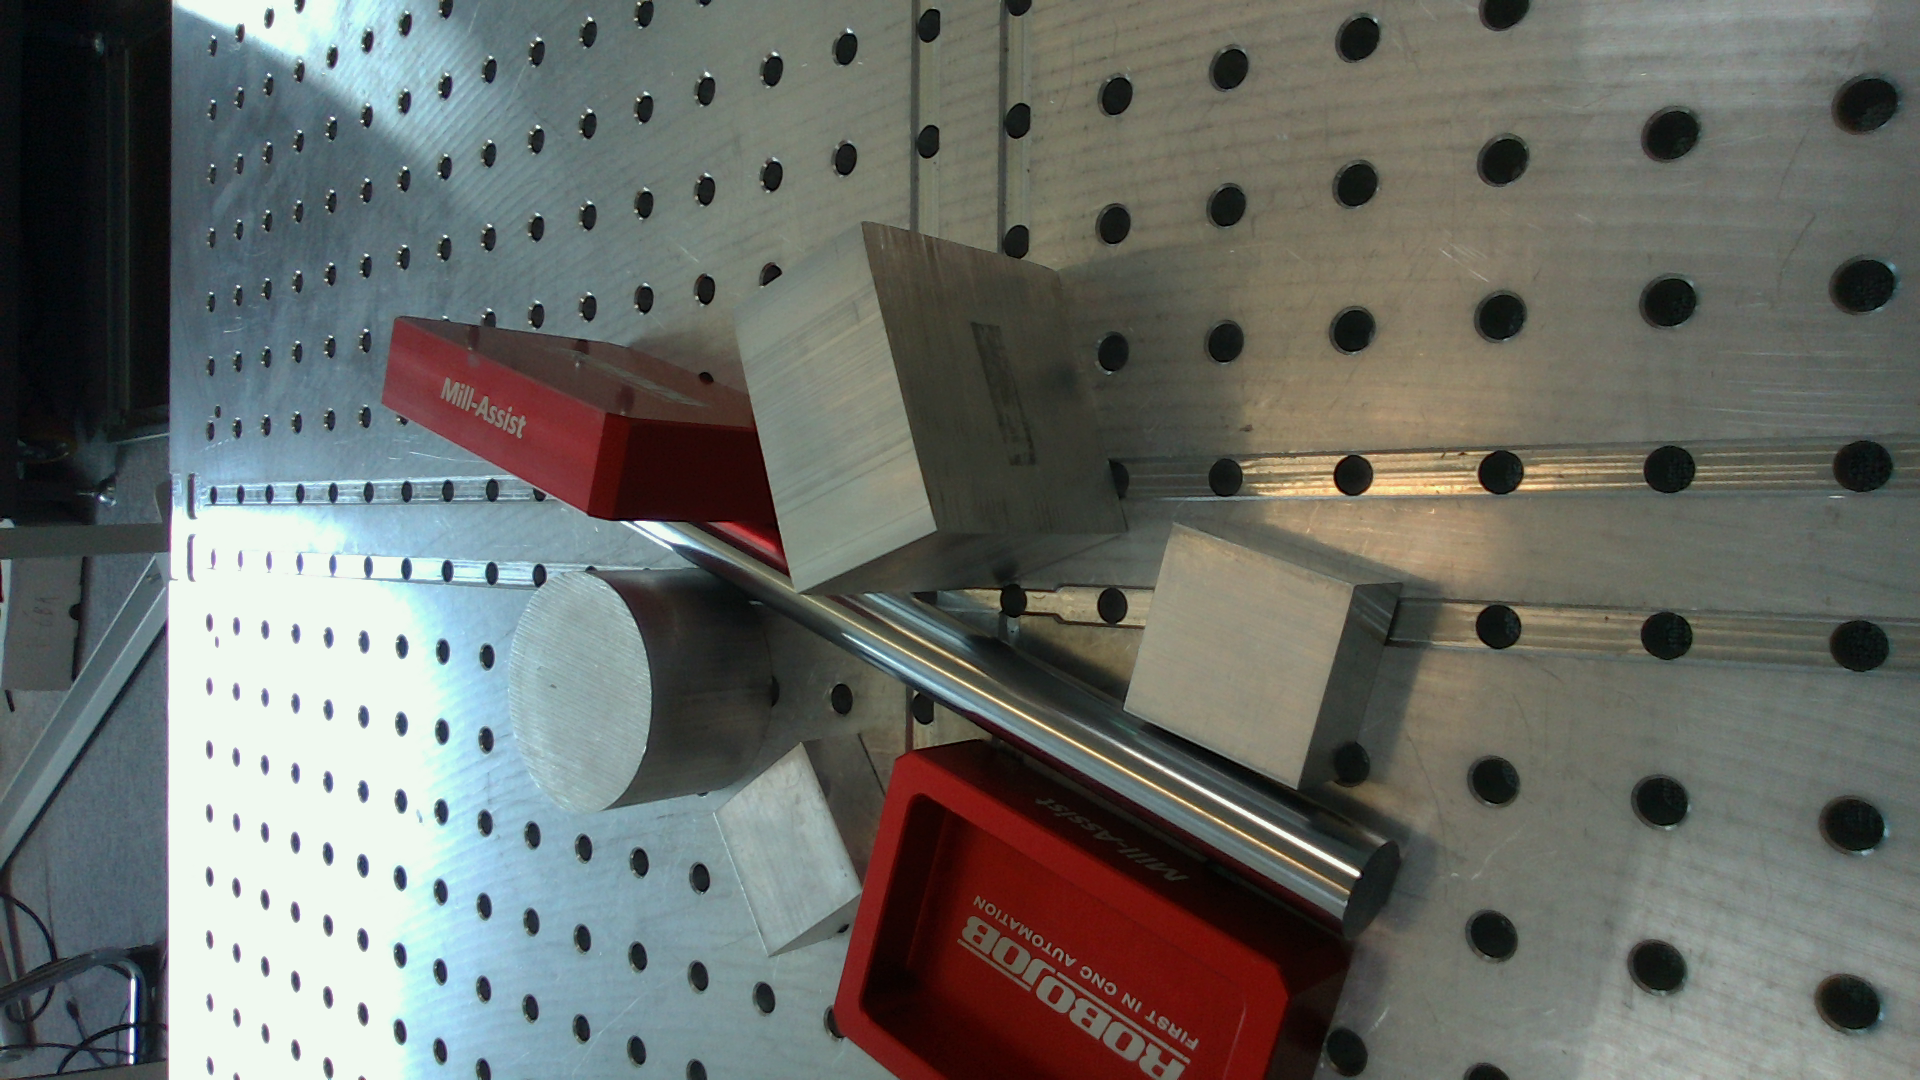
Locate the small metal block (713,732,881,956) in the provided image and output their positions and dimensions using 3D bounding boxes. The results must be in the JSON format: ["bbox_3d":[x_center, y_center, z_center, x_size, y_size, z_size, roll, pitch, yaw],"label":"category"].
[{"bbox_3d":[-0.047,0.096,0.438,0.050,0.025,0.050,-40,66,33],"label":"small metal block"}]

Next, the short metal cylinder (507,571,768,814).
[{"bbox_3d":[-0.112,0.050,0.475,0.080,0.050,0.080,0,90,40],"label":"short metal cylinder"}]

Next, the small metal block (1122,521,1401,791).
[{"bbox_3d":[0.073,0.027,0.337,0.050,0.025,0.050,22,104,38],"label":"small metal block"}]

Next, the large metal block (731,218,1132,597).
[{"bbox_3d":[-0.007,-0.032,0.369,0.050,0.080,0.080,-24,75,38],"label":"large metal block"}]

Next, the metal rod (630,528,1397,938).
[{"bbox_3d":[-0.013,0.031,0.409,0.299,0.025,0.025,25,106,37],"label":"metal rod"}]

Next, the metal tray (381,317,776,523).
[{"bbox_3d":[-0.116,-0.040,0.452,0.130,0.090,0.030,24,105,38],"label":"metal tray"}]

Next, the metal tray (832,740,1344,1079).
[{"bbox_3d":[0.028,0.121,0.371,0.130,0.030,0.090,23,105,38],"label":"metal tray"}]
